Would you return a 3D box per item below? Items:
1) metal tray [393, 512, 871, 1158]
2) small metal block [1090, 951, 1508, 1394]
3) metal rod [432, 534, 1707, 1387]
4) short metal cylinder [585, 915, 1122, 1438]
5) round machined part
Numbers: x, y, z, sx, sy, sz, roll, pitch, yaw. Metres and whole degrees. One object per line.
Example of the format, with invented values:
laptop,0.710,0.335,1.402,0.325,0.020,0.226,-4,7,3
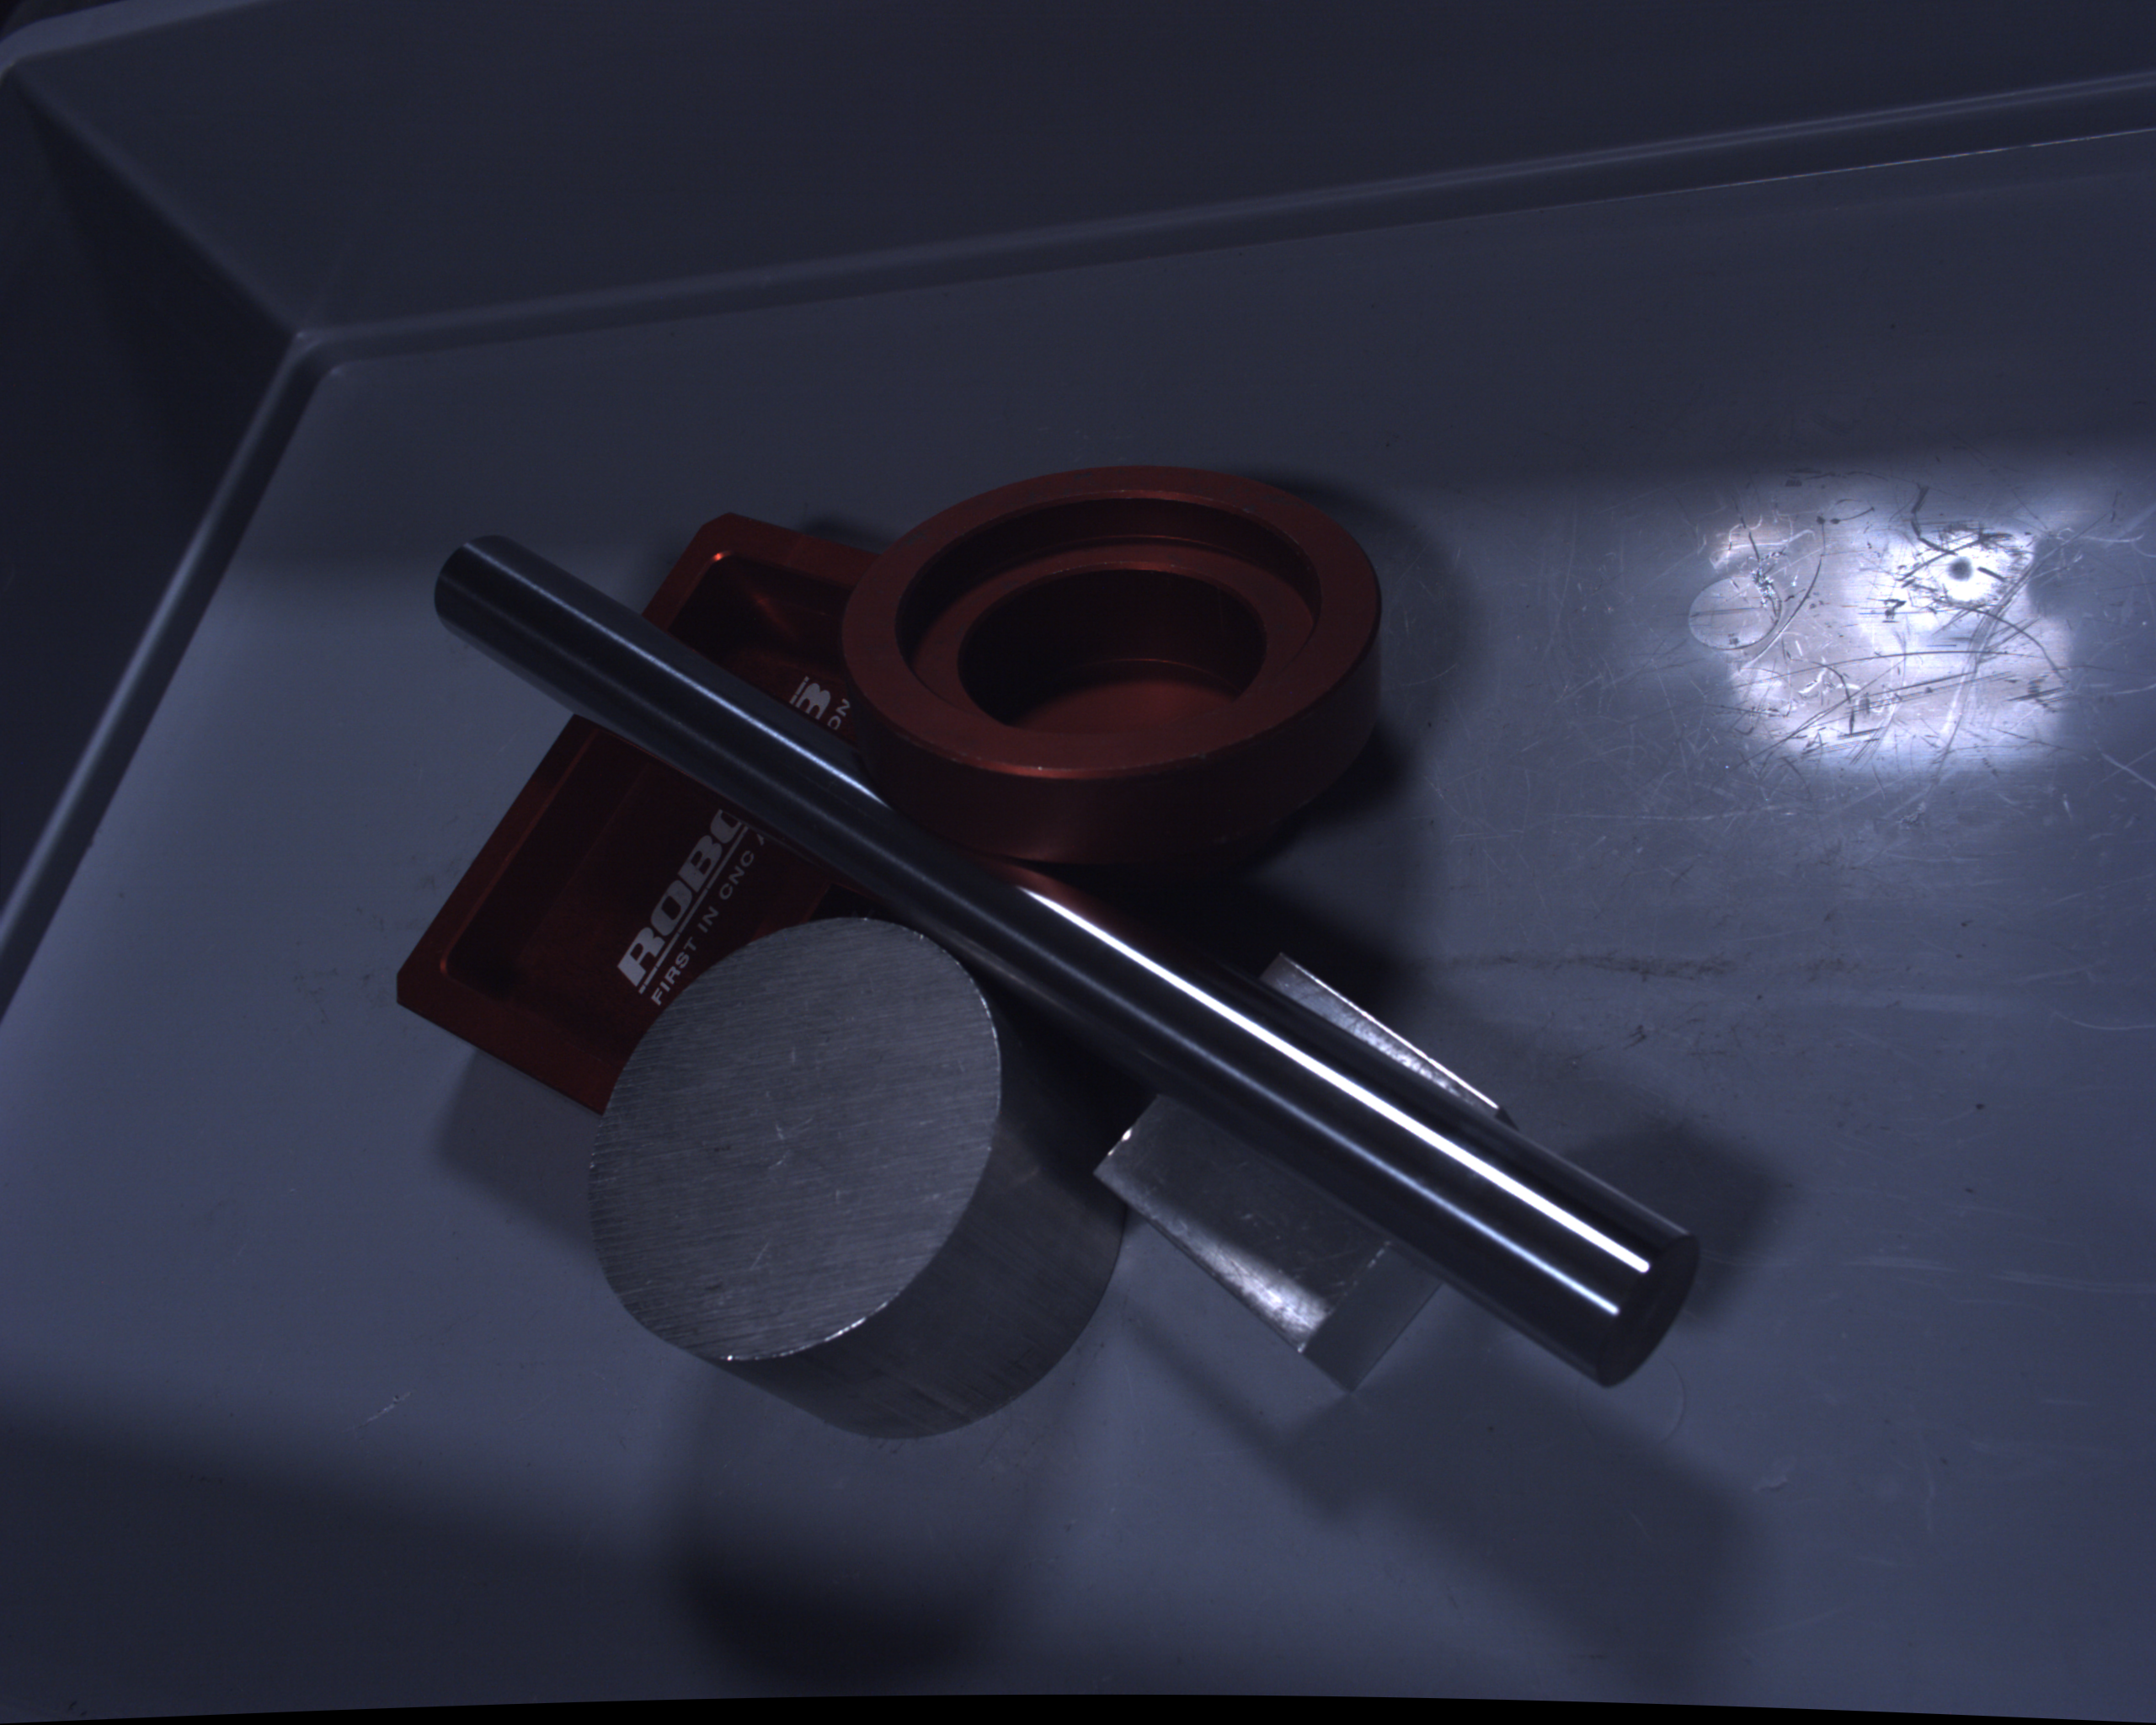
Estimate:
metal tray,-0.075,-0.007,0.441,0.090,0.030,0.130,20,72,35
small metal block,0.040,0.051,0.350,0.050,0.025,0.050,-49,52,-7
metal rod,-0.025,0.001,0.378,0.300,0.025,0.025,30,78,35
short metal cylinder,-0.039,0.056,0.371,0.080,0.050,0.080,-13,56,20
round machined part,0.007,-0.032,0.391,0.099,0.042,0.098,-4,41,4
